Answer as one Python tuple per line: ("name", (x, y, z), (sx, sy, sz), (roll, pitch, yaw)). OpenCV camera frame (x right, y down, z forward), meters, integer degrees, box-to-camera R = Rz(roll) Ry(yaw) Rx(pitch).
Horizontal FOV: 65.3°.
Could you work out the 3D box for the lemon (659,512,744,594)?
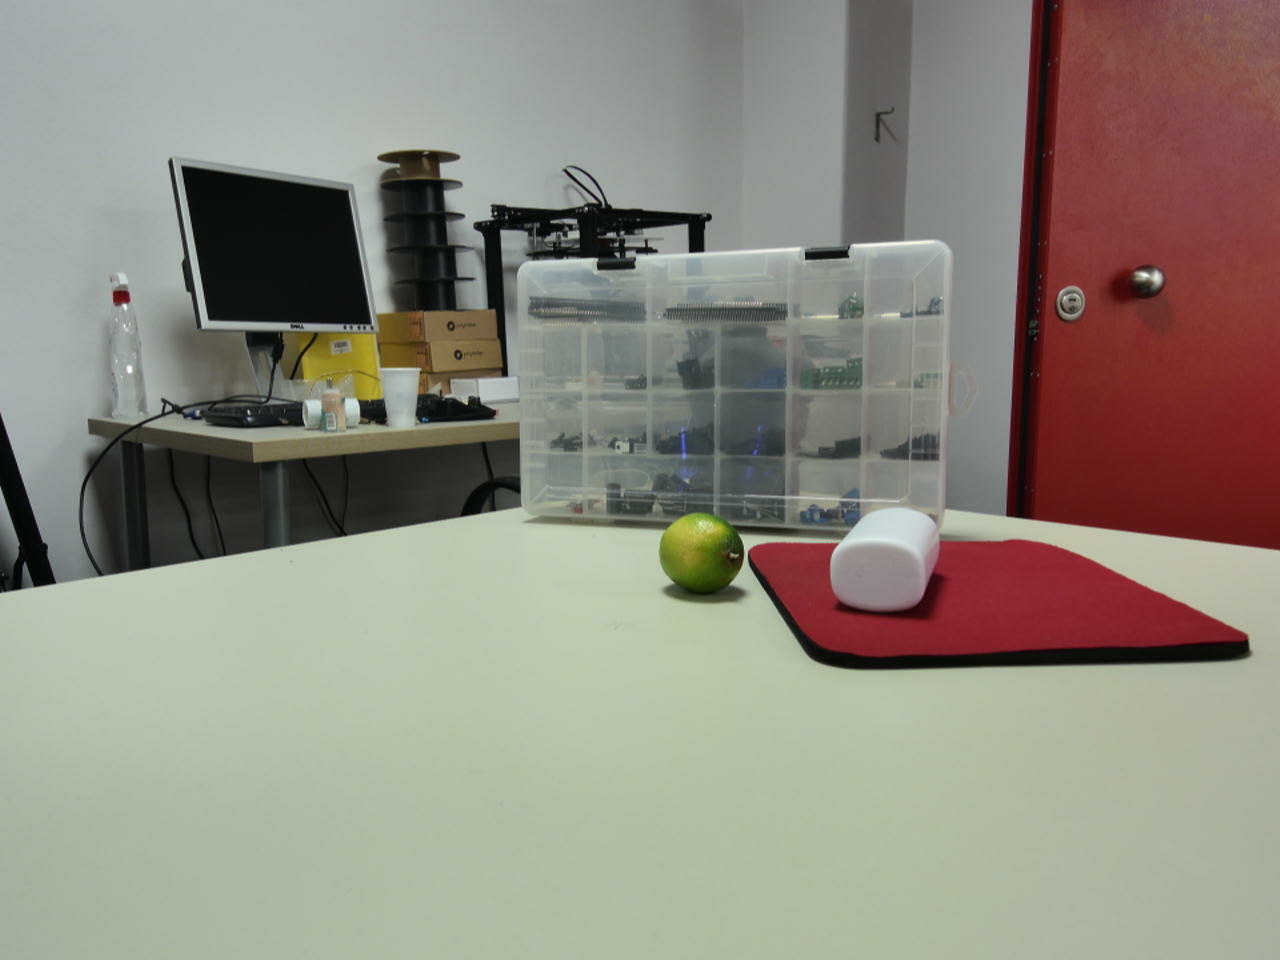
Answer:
("lemon", (0.039, 0.046, 0.644), (0.054, 0.050, 0.055), (1, 7, 6))
